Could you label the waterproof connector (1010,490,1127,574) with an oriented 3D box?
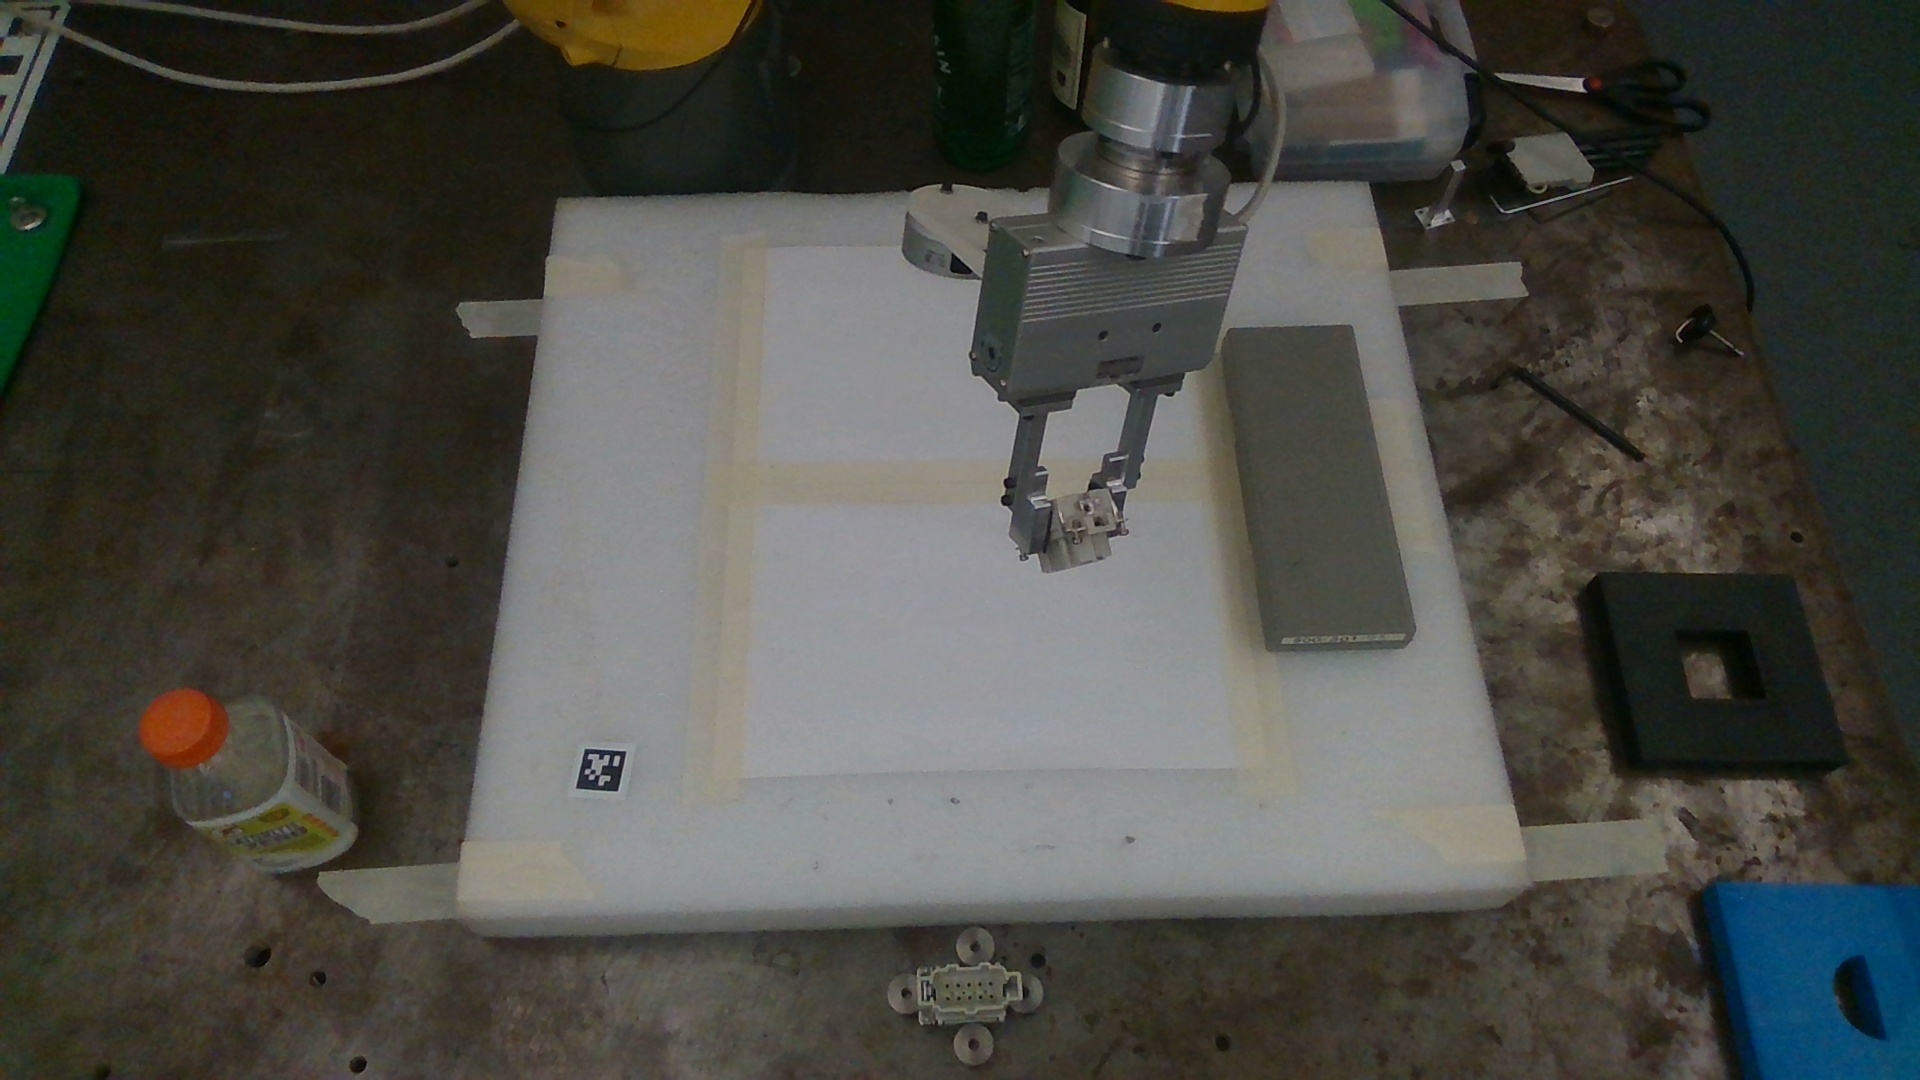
[{"bbox_3d":[0.059,-0.004,0.753,0.036,0.069,0.038,-12,90,-31],"label":"waterproof connector"}]
